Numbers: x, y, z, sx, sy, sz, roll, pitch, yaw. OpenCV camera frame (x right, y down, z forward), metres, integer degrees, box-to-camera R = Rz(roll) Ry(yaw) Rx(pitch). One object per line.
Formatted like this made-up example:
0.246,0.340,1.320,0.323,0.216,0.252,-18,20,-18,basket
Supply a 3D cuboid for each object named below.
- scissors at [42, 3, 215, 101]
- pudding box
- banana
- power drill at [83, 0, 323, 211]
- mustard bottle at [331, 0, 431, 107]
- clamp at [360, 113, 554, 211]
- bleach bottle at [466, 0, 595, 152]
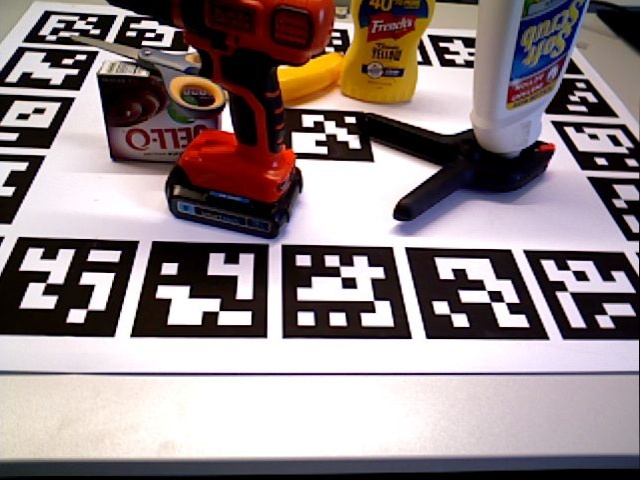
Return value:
-0.167,-0.178,0.488,0.202,0.016,0.086,23,51,9,scissors
-0.164,-0.126,0.530,0.113,0.092,0.038,5,38,-3,pudding box
-0.042,-0.213,0.660,0.193,0.039,0.074,-30,39,-31,banana
-0.094,-0.120,0.422,0.184,0.191,0.056,10,38,6,power drill
0.072,-0.246,0.613,0.096,0.196,0.057,13,45,3,mustard bottle
0.147,-0.093,0.553,0.201,0.037,0.163,-2,48,-11,clamp
0.192,-0.178,0.492,0.101,0.256,0.067,-16,45,-13,bleach bottle
